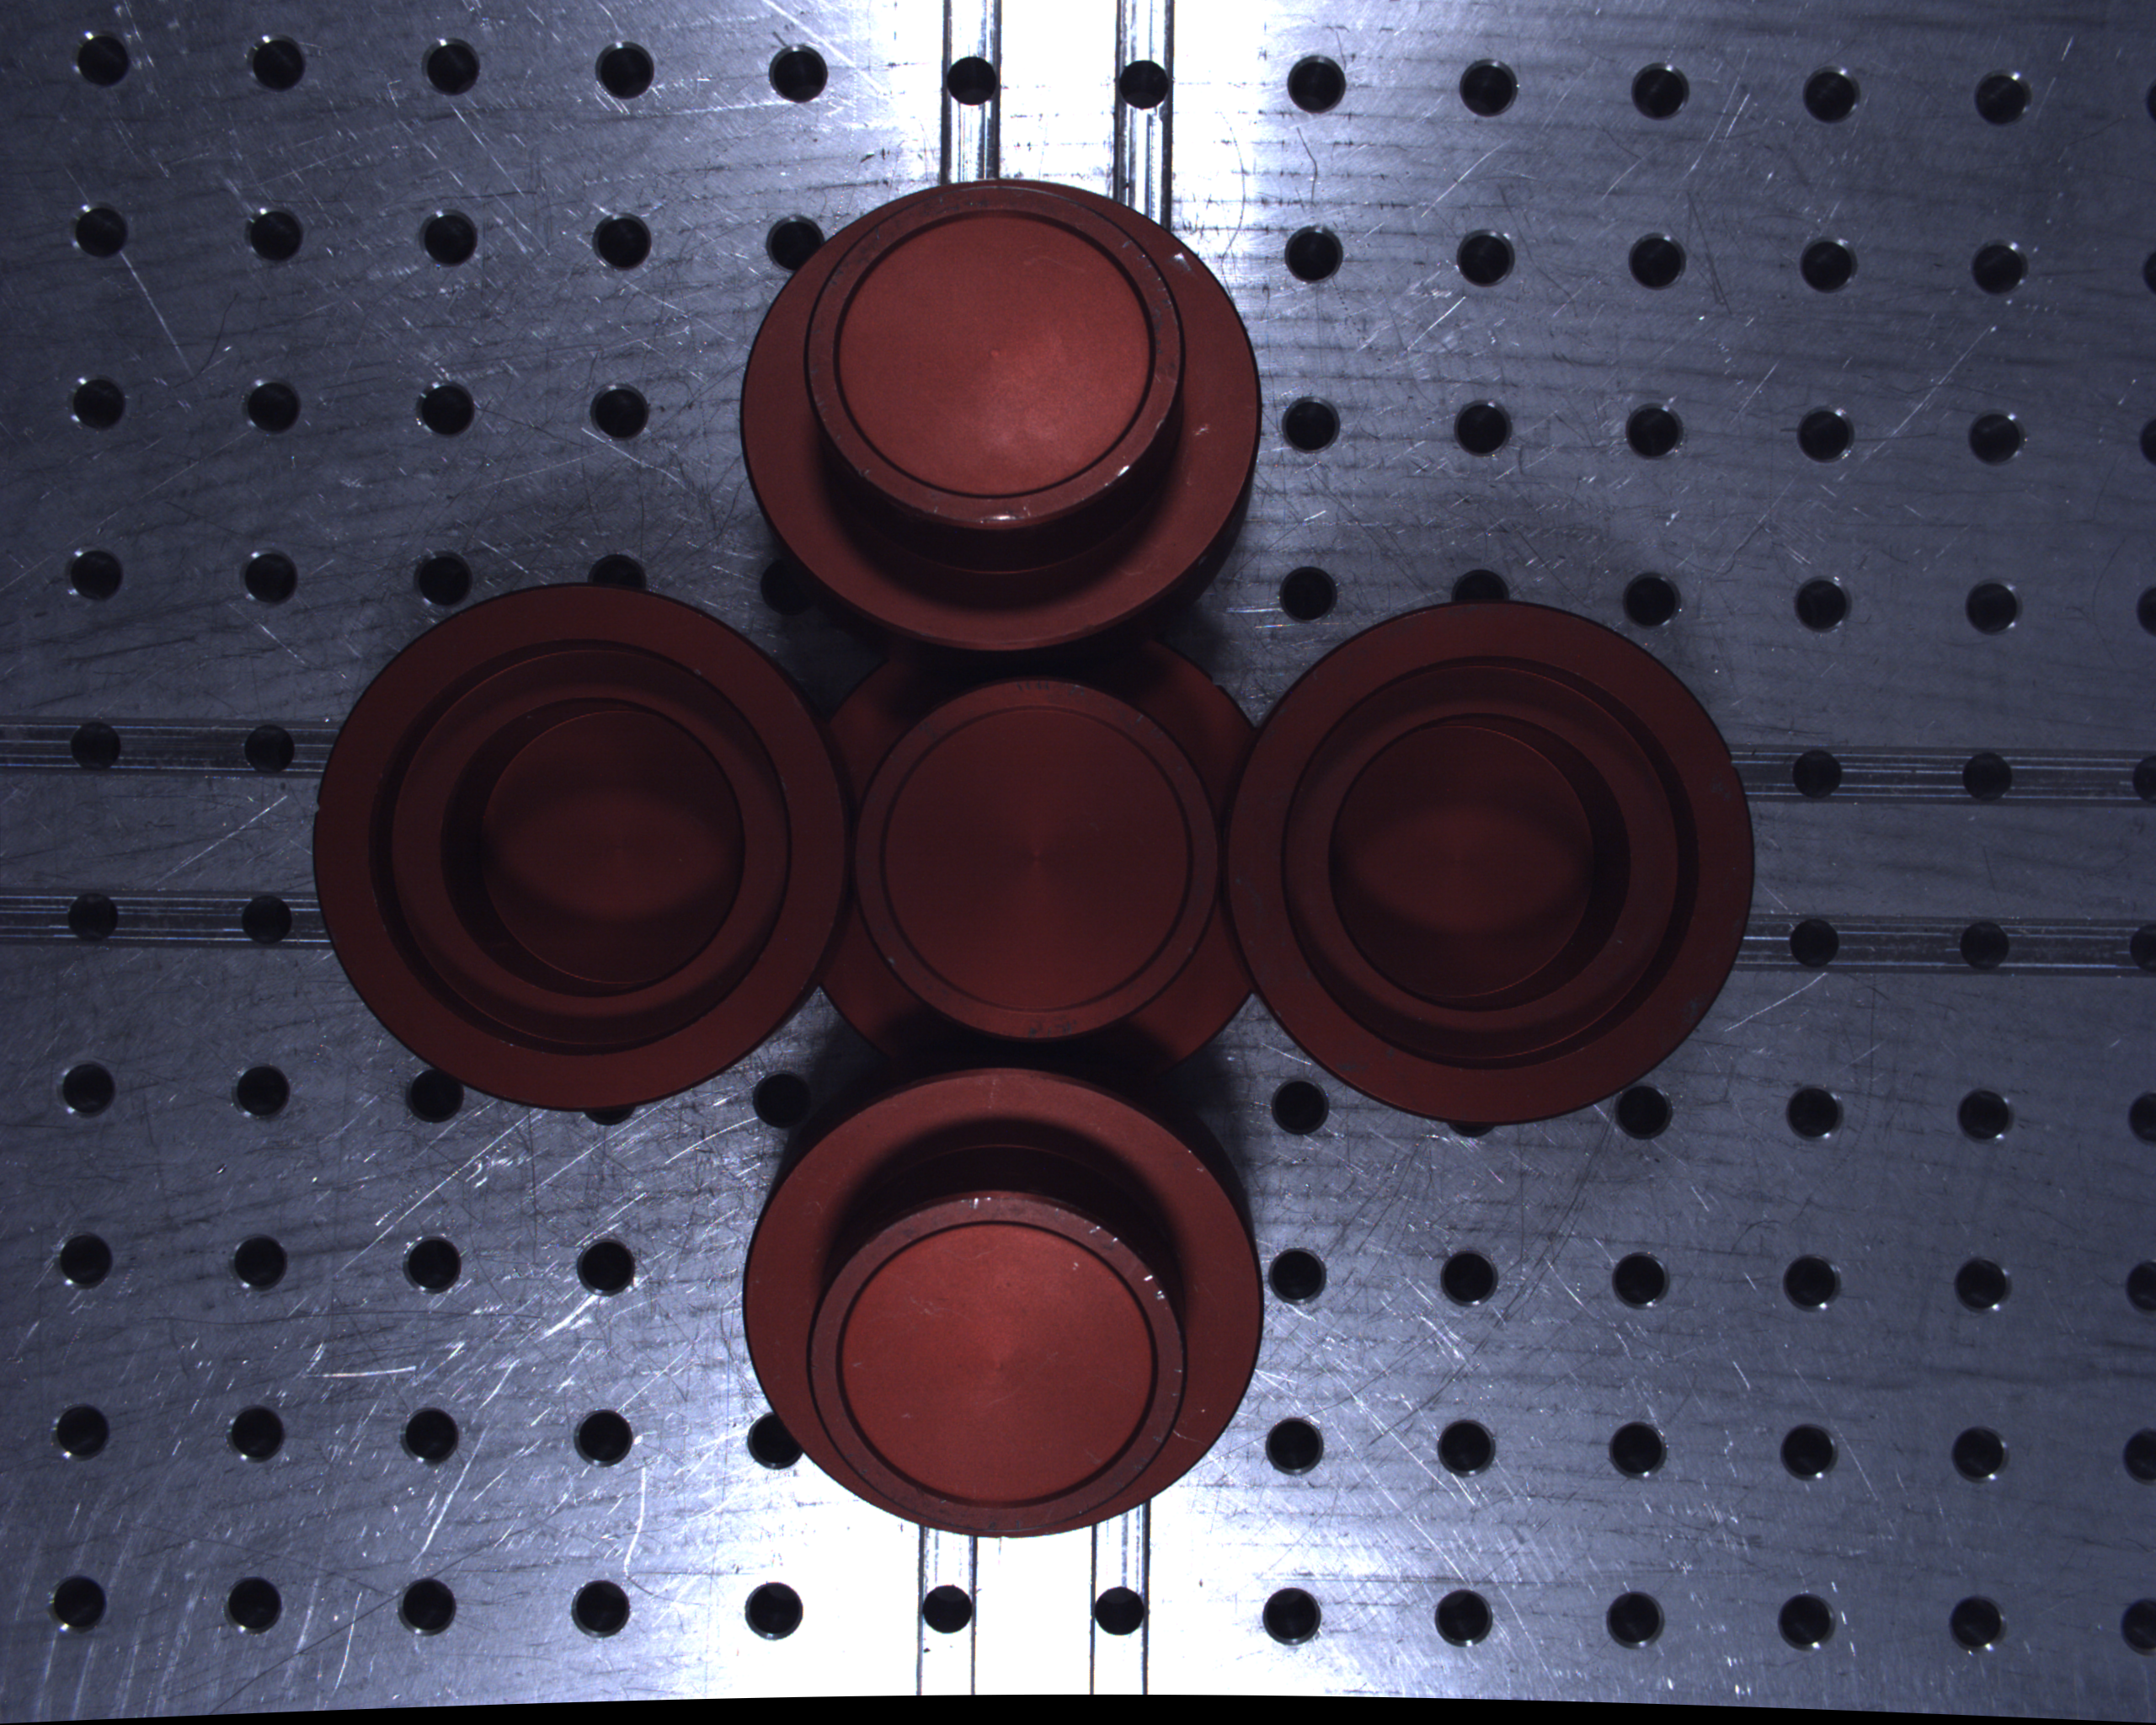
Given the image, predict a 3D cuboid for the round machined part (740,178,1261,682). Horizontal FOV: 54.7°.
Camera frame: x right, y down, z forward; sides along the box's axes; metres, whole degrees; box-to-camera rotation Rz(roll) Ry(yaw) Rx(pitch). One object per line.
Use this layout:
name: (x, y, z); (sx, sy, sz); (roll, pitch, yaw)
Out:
round machined part: (-0.015, -0.086, 0.393); (0.099, 0.042, 0.098); (0, 76, 1)

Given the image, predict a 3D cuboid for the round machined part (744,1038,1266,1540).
round machined part: (-0.014, 0.085, 0.393); (0.099, 0.042, 0.097); (0, 105, 0)

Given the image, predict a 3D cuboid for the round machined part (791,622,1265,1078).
round machined part: (-0.008, -0.001, 0.404); (0.099, 0.042, 0.097); (0, 90, -1)

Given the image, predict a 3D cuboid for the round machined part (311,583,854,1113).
round machined part: (-0.092, -0.003, 0.403); (0.099, 0.042, 0.097); (0, 90, -1)

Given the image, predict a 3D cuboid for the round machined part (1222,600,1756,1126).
round machined part: (0.076, 0.000, 0.405); (0.099, 0.042, 0.097); (0, 90, -1)
